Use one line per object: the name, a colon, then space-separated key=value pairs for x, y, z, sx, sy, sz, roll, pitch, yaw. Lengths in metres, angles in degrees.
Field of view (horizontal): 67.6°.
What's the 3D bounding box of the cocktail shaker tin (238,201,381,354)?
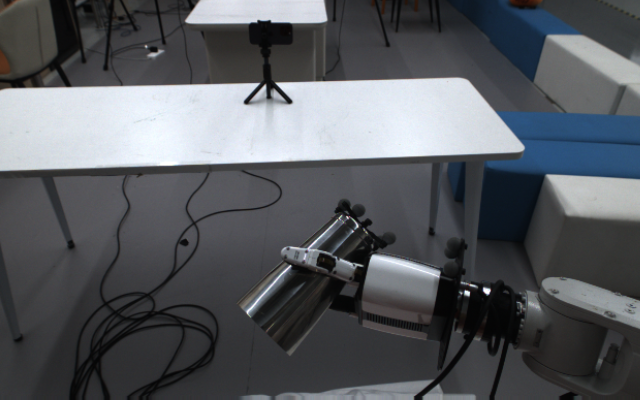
cocktail shaker tin: x=-0.011 y=0.093 z=0.605 sx=0.170 sy=0.093 sz=0.093 roll=-43 pitch=50 yaw=-14
